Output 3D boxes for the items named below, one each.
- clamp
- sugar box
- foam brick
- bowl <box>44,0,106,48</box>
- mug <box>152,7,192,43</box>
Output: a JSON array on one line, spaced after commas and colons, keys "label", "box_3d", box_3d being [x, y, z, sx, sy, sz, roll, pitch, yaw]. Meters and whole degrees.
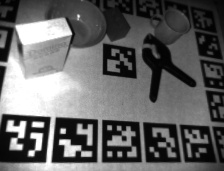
[{"label": "clamp", "box_3d": [0.143, -0.070, 0.643, 0.167, 0.036, 0.202, -20, 80, -22]}, {"label": "sugar box", "box_3d": [-0.151, -0.060, 0.468, 0.093, 0.175, 0.045, -21, 80, -25]}, {"label": "foam brick", "box_3d": [0.009, -0.175, 0.638, 0.053, 0.051, 0.078, -24, 81, -23]}, {"label": "bowl", "box_3d": [-0.100, -0.161, 0.587, 0.163, 0.055, 0.161, 7, 70, -18]}, {"label": "mug", "box_3d": [0.177, -0.194, 0.678, 0.118, 0.081, 0.093, 30, 65, -10]}]
